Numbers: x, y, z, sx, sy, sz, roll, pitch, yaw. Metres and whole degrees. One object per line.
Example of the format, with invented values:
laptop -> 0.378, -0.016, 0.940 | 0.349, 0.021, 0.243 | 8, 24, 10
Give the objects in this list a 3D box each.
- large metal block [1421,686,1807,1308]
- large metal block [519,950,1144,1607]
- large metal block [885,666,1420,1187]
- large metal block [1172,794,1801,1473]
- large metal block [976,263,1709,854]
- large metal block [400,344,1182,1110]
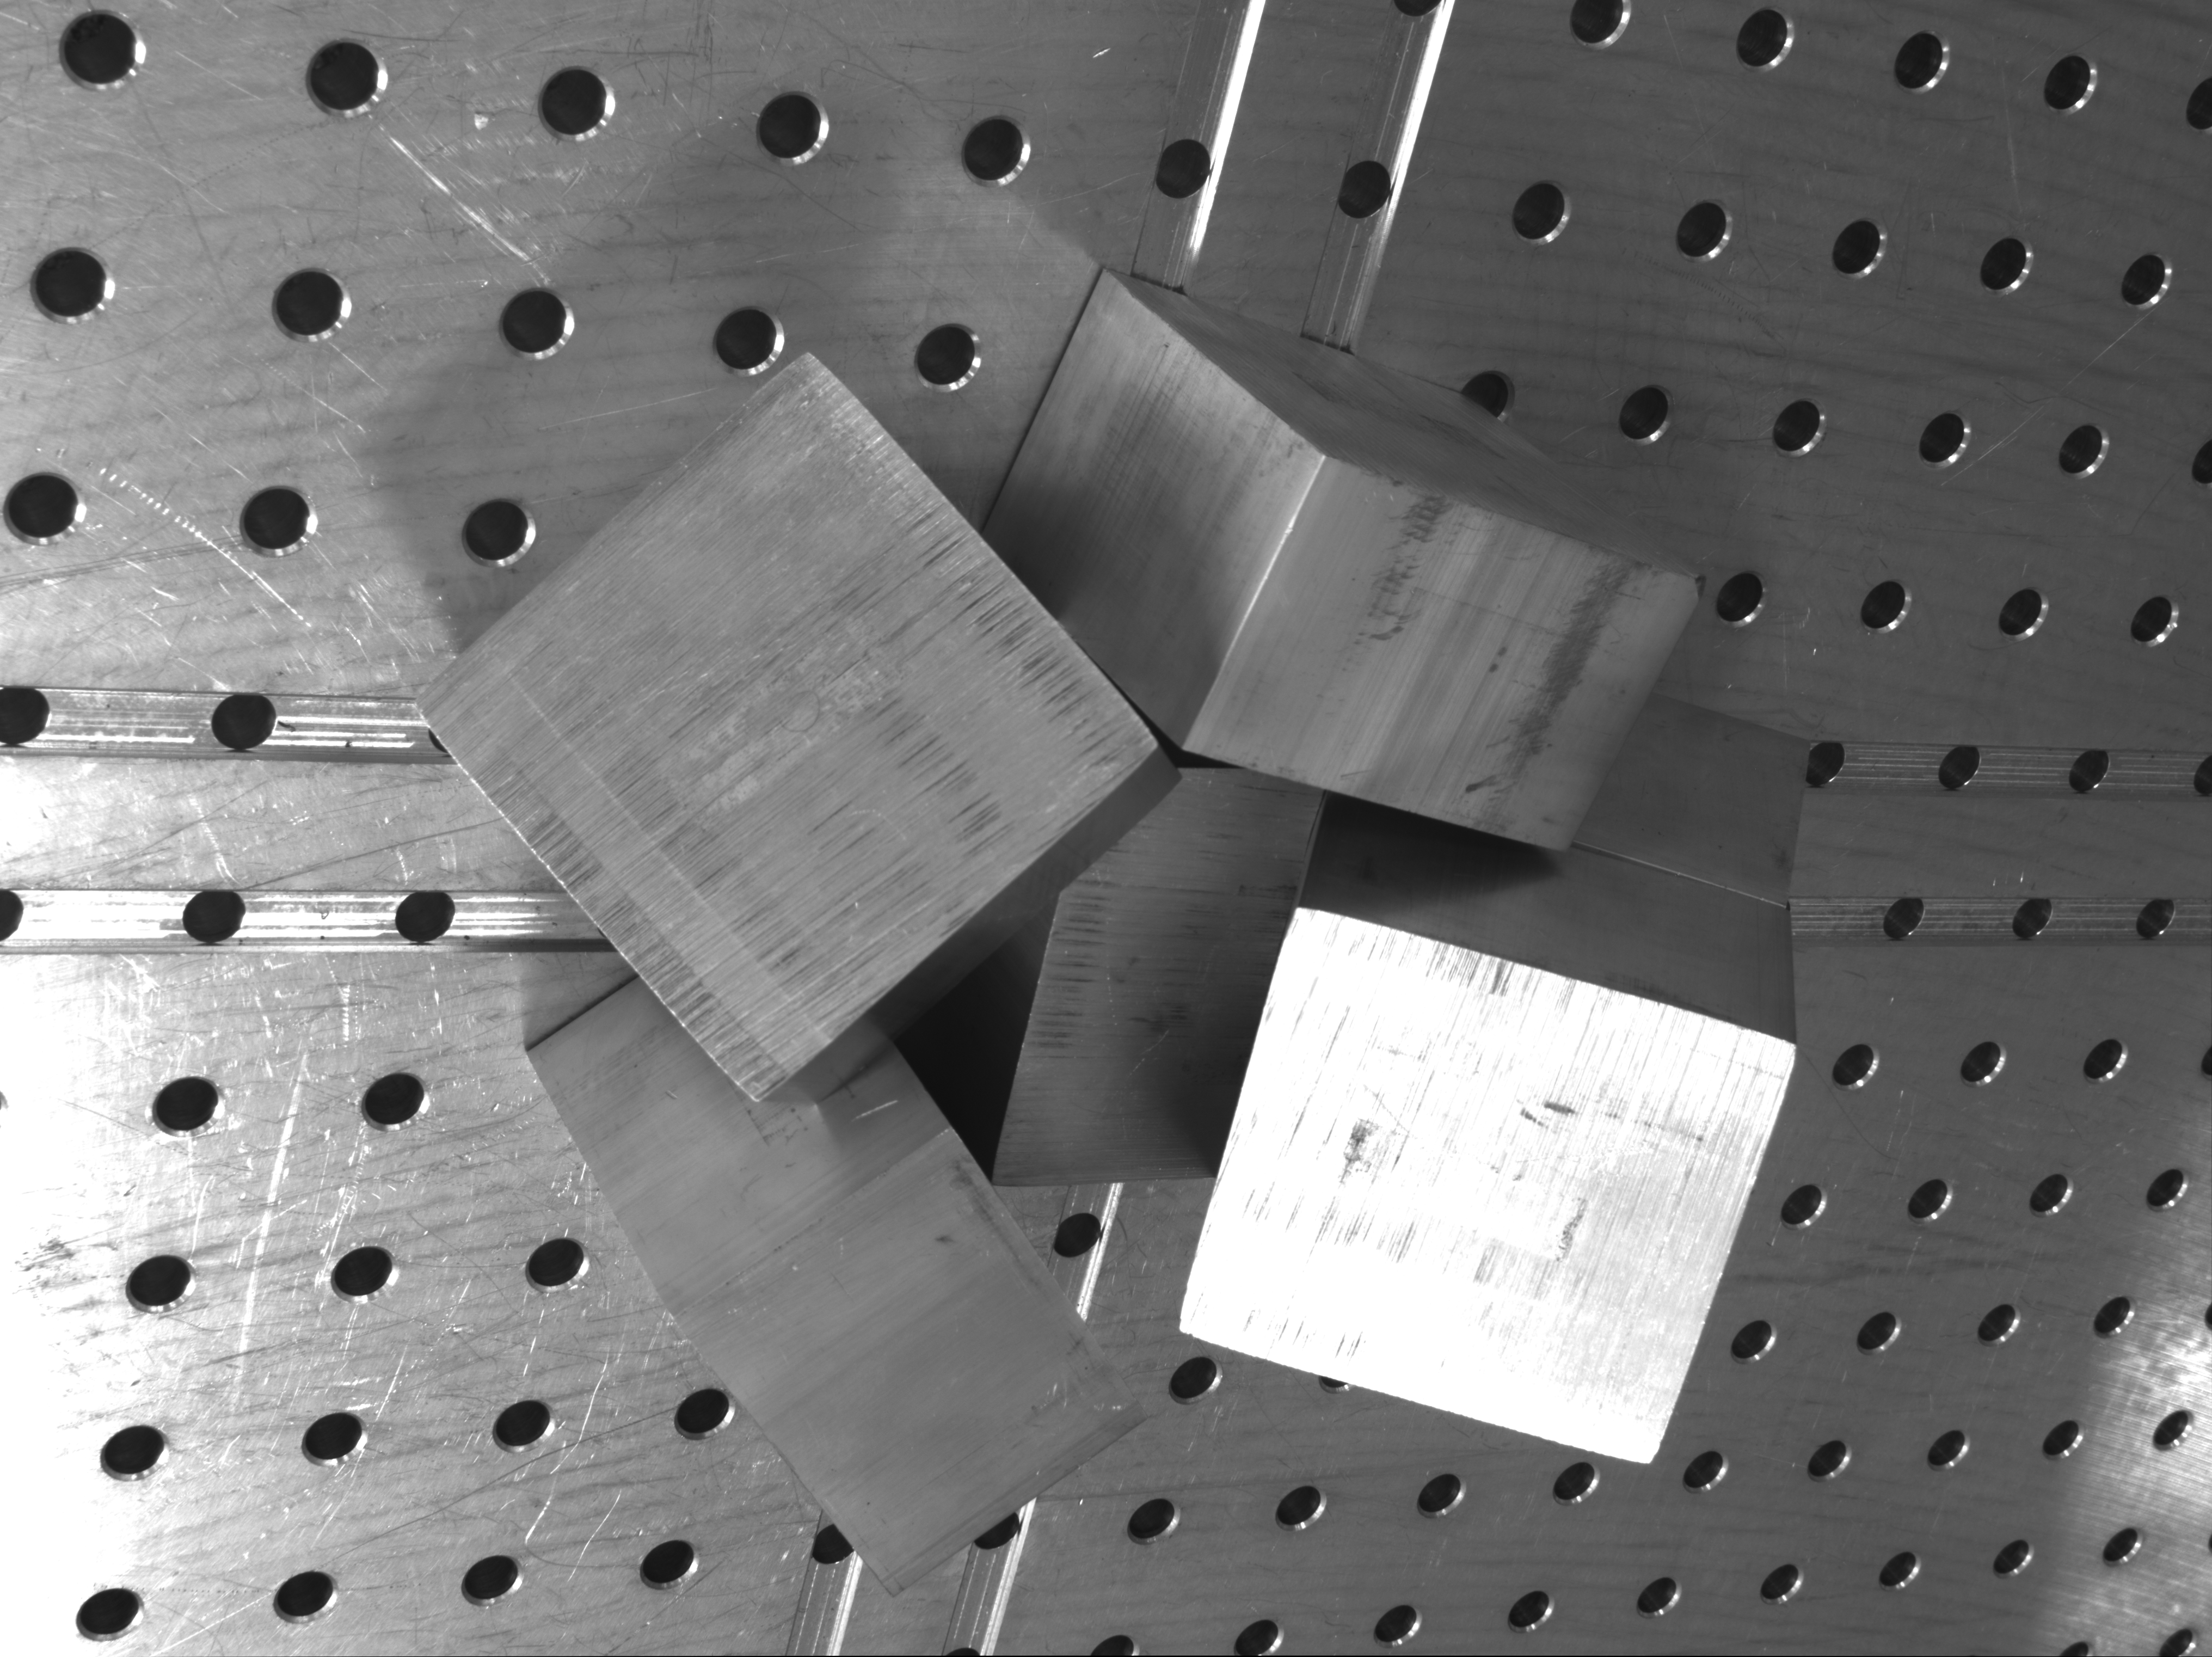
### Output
large metal block -> 0.088, 0.026, 0.658 | 0.050, 0.080, 0.080 | 16, 114, 6
large metal block -> -0.047, 0.070, 0.621 | 0.050, 0.080, 0.080 | -35, 129, -6
large metal block -> 0.012, 0.014, 0.640 | 0.080, 0.050, 0.080 | 1, 118, -29
large metal block -> 0.062, 0.048, 0.598 | 0.080, 0.050, 0.080 | 15, 114, 3
large metal block -> 0.036, -0.044, 0.599 | 0.080, 0.080, 0.050 | 14, 111, -33
large metal block -> -0.046, -0.013, 0.564 | 0.080, 0.080, 0.050 | -42, 173, 0
